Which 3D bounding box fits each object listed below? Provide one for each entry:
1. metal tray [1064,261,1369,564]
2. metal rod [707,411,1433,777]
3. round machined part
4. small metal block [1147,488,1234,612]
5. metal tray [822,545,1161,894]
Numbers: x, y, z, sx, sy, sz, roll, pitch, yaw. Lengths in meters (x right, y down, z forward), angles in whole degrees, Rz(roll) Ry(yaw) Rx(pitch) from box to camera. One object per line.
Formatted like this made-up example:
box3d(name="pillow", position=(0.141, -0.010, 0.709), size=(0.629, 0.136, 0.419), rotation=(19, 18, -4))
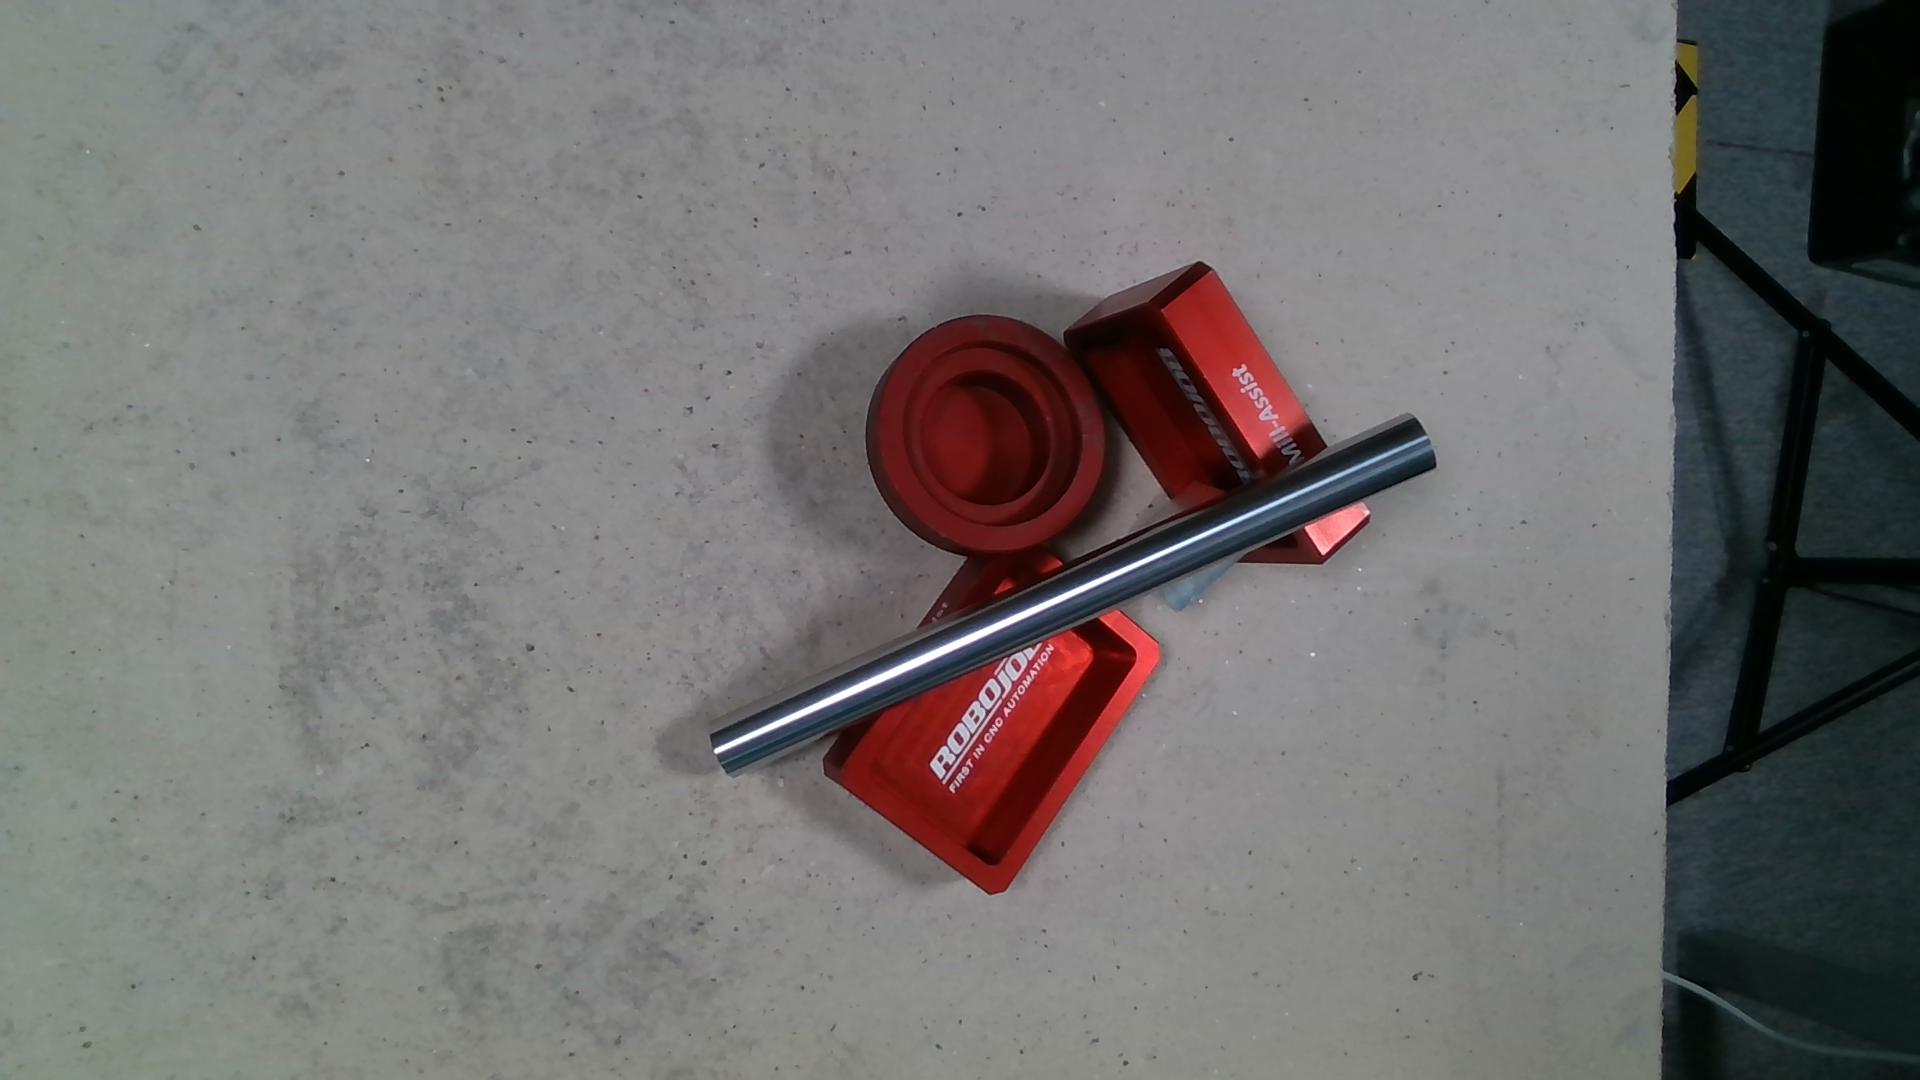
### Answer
box3d(name="metal tray", position=(0.108, -0.050, 0.590), size=(0.030, 0.090, 0.130), rotation=(-40, 103, -16))
box3d(name="metal rod", position=(0.041, 0.022, 0.544), size=(0.300, 0.025, 0.025), rotation=(-24, 99, 3))
box3d(name="round machined part", position=(0.007, -0.042, 0.576), size=(0.098, 0.042, 0.098), rotation=(2, 83, -17))
box3d(name="small metal block", position=(0.099, 0.001, 0.604), size=(0.050, 0.050, 0.025), rotation=(-42, 101, -1))
box3d(name="metal tray", position=(0.015, 0.072, 0.589), size=(0.090, 0.030, 0.130), rotation=(40, 77, -16))
